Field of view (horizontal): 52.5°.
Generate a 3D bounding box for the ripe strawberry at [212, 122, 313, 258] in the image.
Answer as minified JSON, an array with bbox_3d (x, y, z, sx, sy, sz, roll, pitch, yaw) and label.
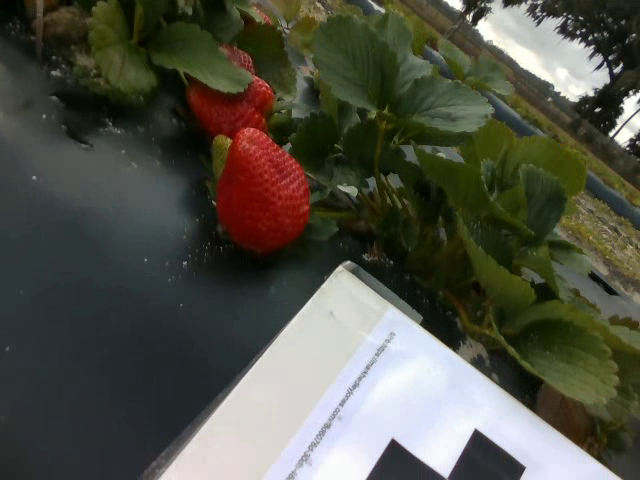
[{"bbox_3d":[-0.029,-0.028,0.296,0.057,0.056,0.065,-5,-25,3],"label":"ripe strawberry"}]
